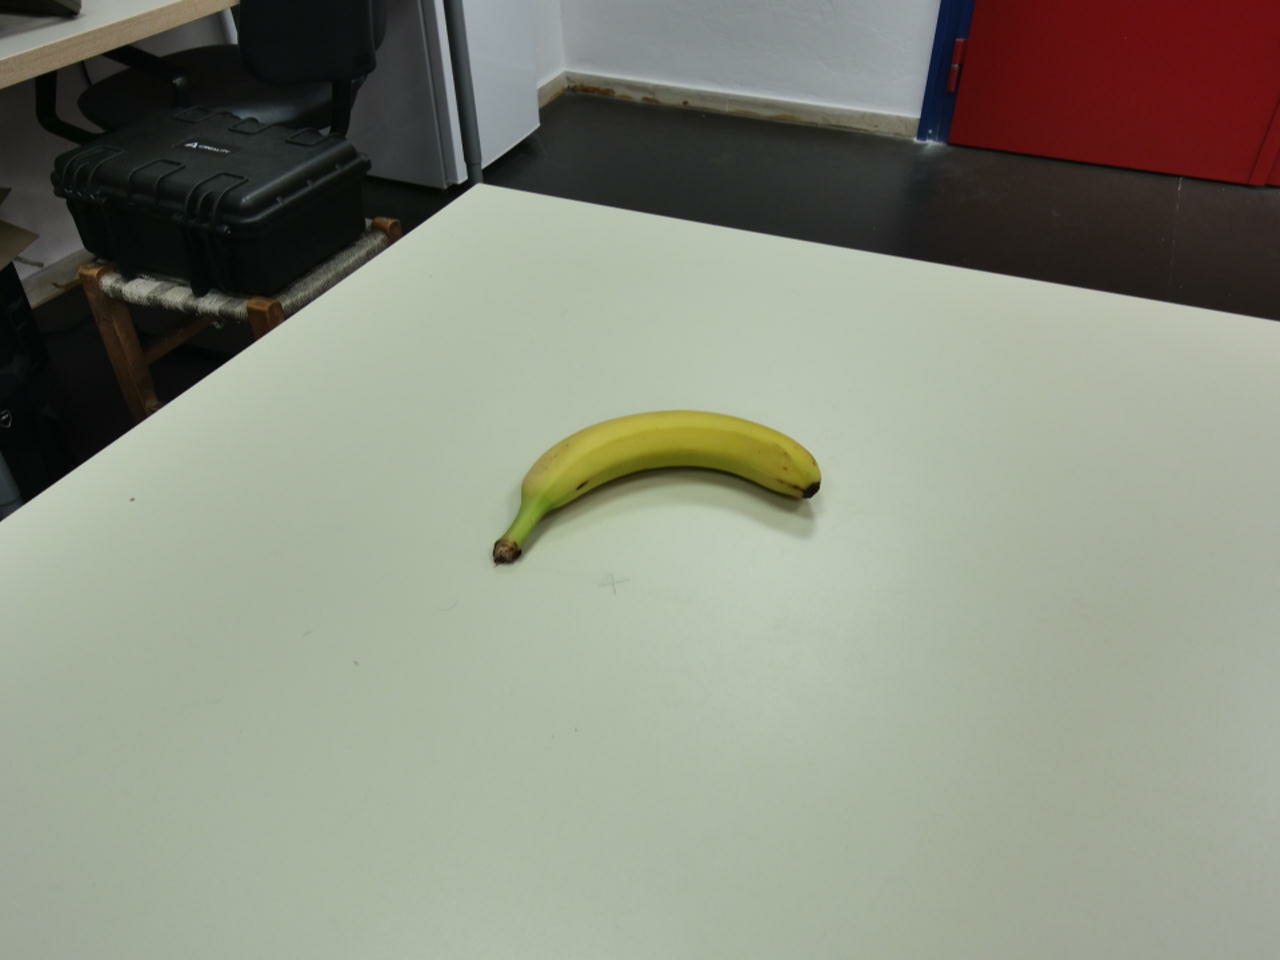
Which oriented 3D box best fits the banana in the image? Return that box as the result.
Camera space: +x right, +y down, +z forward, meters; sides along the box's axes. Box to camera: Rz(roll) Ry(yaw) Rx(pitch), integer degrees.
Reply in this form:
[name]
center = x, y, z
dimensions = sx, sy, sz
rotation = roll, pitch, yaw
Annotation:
[banana]
center = 0.005, -0.007, 0.606
dimensions = 0.196, 0.041, 0.094
rotation = -8, 39, -8
